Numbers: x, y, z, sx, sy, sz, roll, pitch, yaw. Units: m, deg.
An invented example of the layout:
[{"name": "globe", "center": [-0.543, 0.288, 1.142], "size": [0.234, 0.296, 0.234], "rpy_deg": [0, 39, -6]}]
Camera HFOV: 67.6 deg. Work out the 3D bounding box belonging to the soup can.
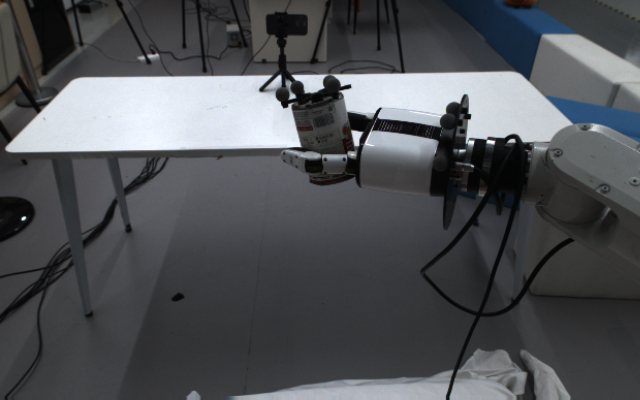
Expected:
[{"name": "soup can", "center": [0.010, -0.077, 0.608], "size": [0.067, 0.101, 0.067], "rpy_deg": [-13, 20, 5]}]
